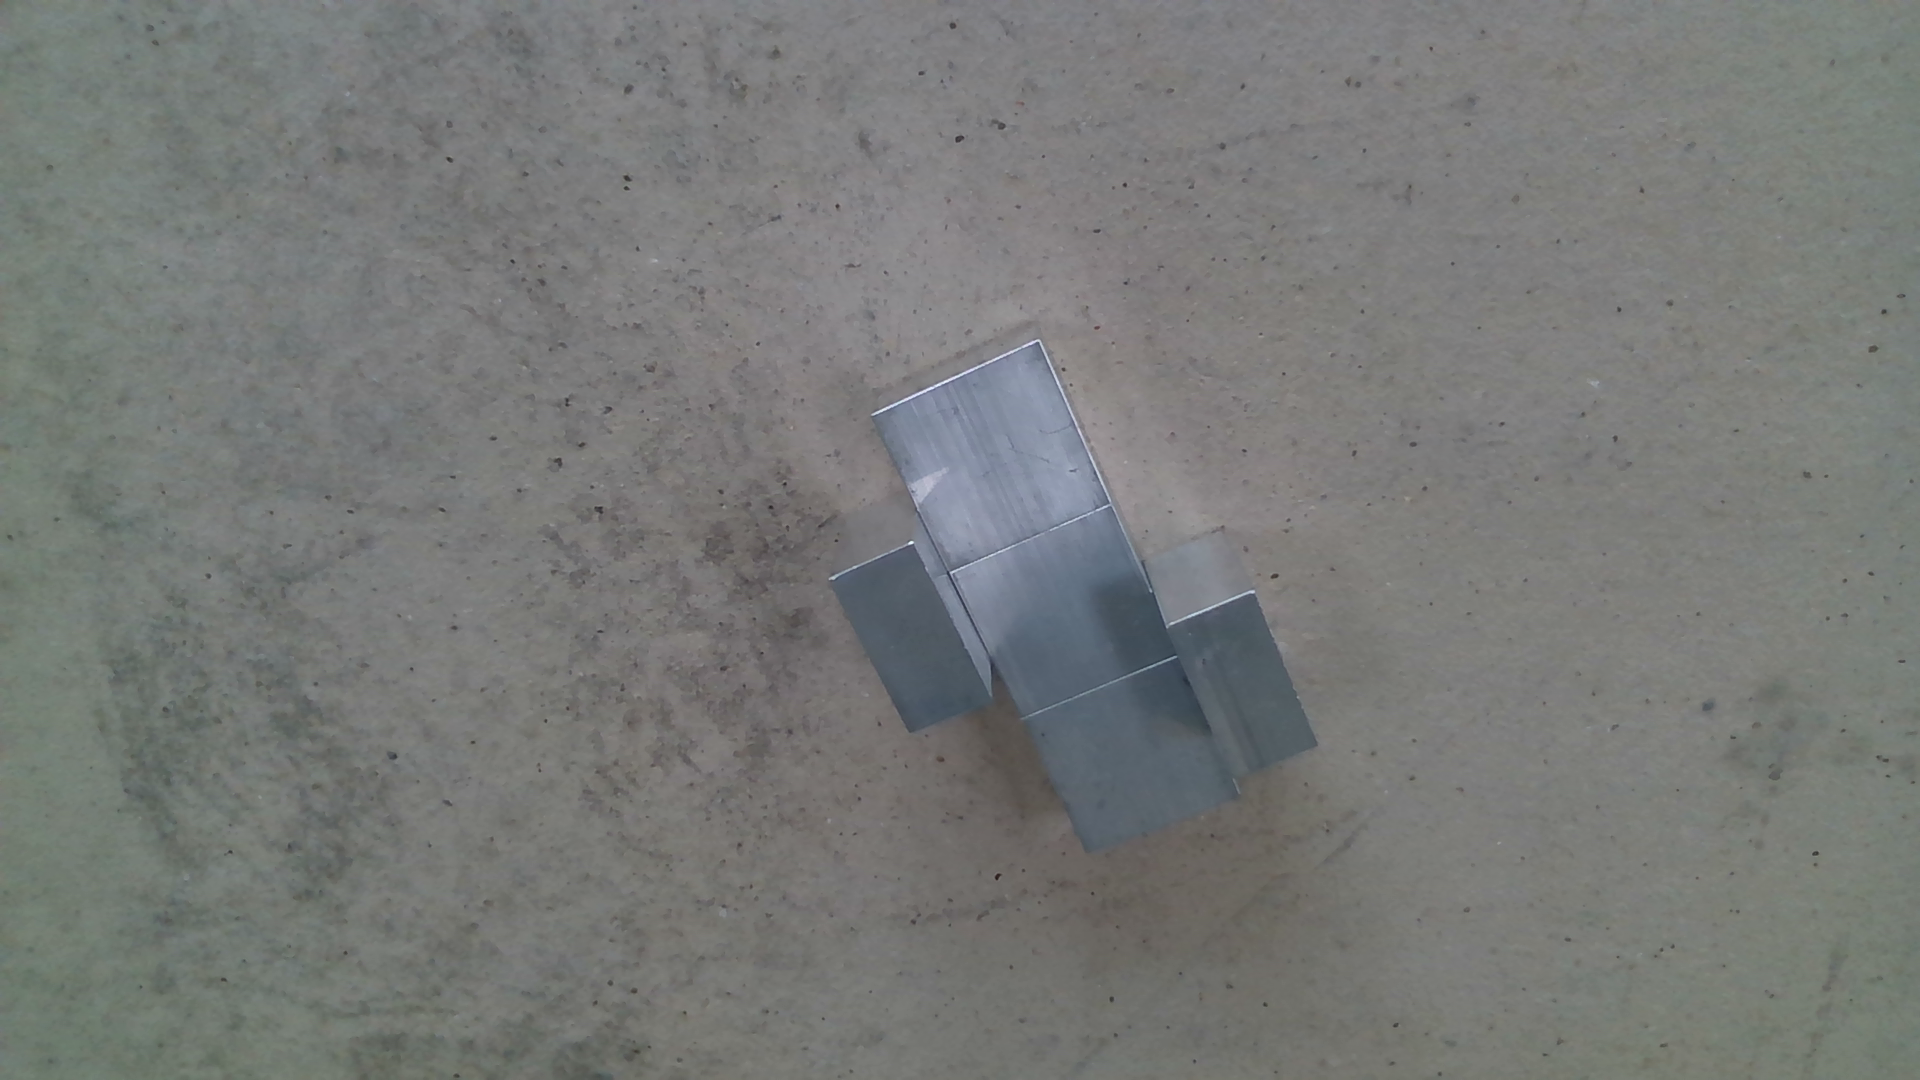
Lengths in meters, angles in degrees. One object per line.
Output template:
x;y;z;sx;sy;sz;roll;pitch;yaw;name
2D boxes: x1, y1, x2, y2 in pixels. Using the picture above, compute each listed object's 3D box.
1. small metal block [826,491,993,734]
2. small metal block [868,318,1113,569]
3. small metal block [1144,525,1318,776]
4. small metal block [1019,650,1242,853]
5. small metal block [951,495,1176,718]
-0.013;0.018;0.387;0.025;0.050;0.050;-24;108;8;small metal block
0.009;-0.027;0.383;0.050;0.025;0.050;-23;109;8;small metal block
0.076;0.030;0.392;0.025;0.050;0.050;-23;108;8;small metal block
0.051;0.059;0.415;0.050;0.025;0.050;-23;109;8;small metal block
0.030;0.016;0.399;0.050;0.025;0.050;-23;109;8;small metal block
